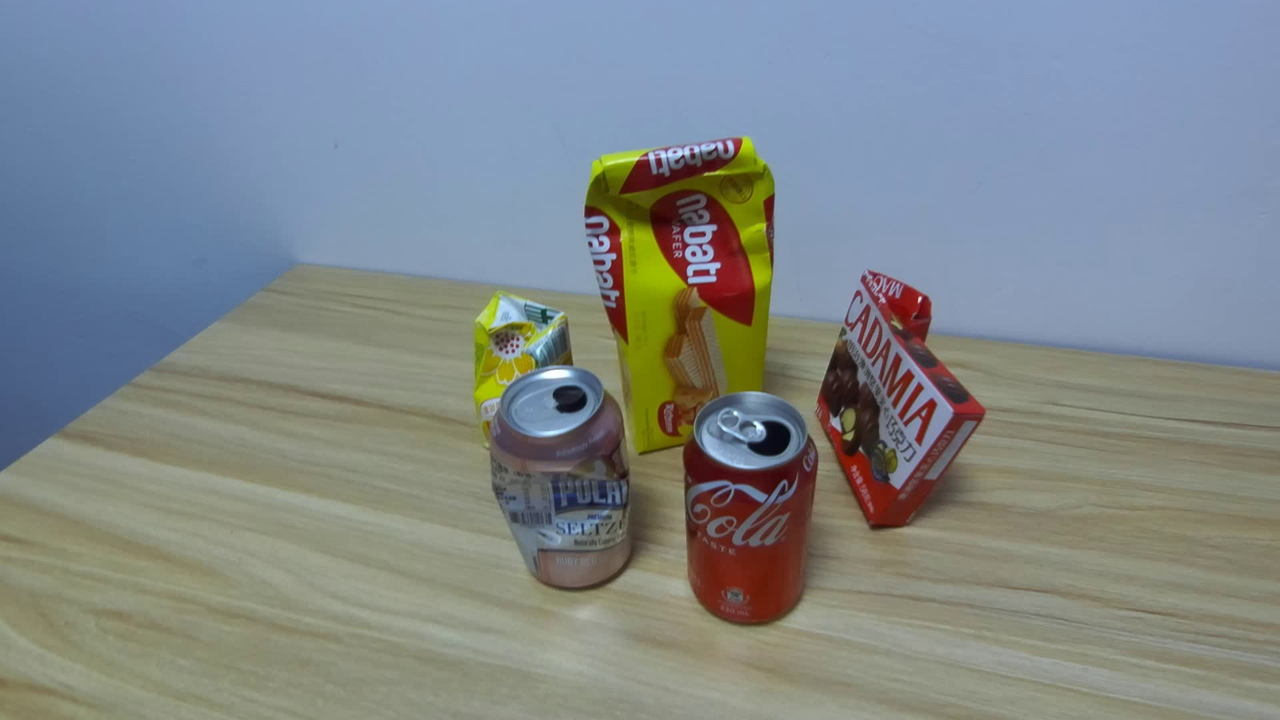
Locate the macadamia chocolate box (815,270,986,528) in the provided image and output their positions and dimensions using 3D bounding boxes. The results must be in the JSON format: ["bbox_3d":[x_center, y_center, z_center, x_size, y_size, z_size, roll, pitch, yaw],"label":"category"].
[{"bbox_3d":[0.156,0.023,0.441,0.056,0.112,0.126,-4,36,-1],"label":"macadamia chocolate box"}]

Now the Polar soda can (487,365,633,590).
[{"bbox_3d":[-0.039,0.067,0.393,0.074,0.122,0.067,22,44,32],"label":"Polar soda can"}]

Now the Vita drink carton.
[{"bbox_3d":[-0.081,0.017,0.476,0.071,0.110,0.046,19,39,32],"label":"Vita drink carton"}]

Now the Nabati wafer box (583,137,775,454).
[{"bbox_3d":[0.030,-0.034,0.452,0.113,0.205,0.042,-11,34,-7],"label":"Nabati wafer box"}]

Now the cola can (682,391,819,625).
[{"bbox_3d":[0.056,0.076,0.368,0.068,0.120,0.067,-2,40,2],"label":"cola can"}]
